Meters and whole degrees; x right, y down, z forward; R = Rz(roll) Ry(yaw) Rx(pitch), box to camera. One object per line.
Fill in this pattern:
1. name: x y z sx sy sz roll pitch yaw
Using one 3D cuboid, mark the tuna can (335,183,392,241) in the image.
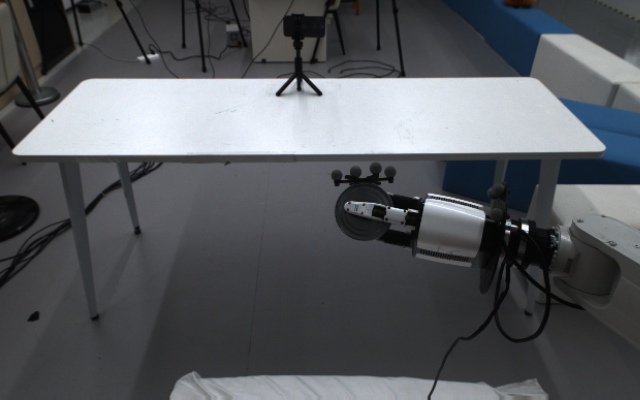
1. tuna can: 0.067 0.017 0.711 0.085 0.085 0.034 11 -9 12
